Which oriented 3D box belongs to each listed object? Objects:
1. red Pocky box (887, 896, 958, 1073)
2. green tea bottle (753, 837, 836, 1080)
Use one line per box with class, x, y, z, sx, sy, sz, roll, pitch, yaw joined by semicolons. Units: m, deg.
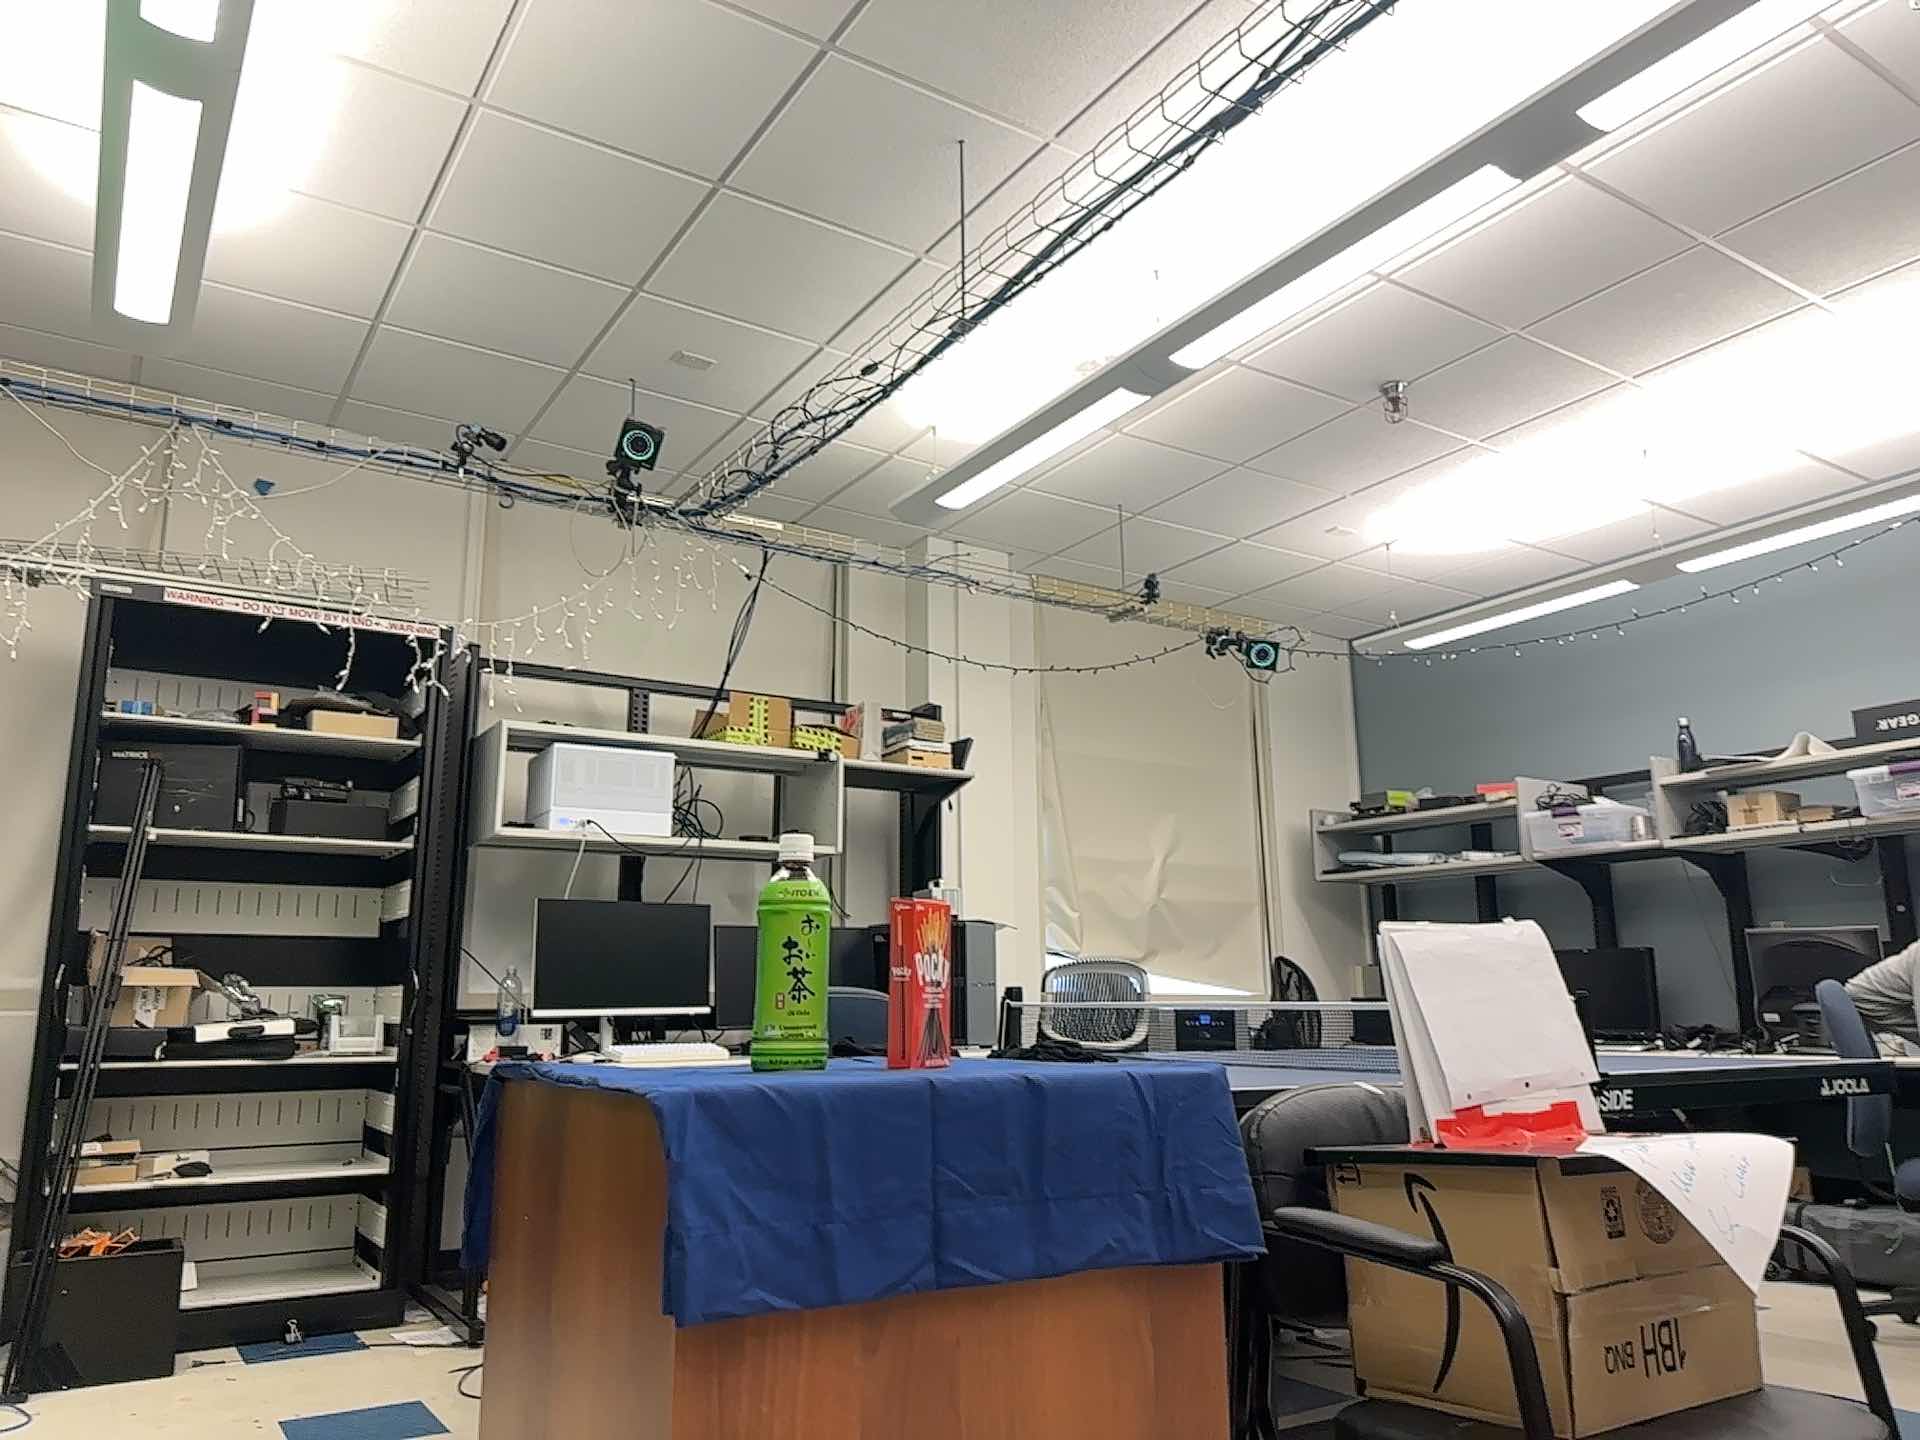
red Pocky box;-0.033;0.239;1.220;0.028;0.155;0.083;-4;-12;28
green tea bottle;-0.148;0.211;1.200;0.073;0.212;0.073;-1;-11;0
